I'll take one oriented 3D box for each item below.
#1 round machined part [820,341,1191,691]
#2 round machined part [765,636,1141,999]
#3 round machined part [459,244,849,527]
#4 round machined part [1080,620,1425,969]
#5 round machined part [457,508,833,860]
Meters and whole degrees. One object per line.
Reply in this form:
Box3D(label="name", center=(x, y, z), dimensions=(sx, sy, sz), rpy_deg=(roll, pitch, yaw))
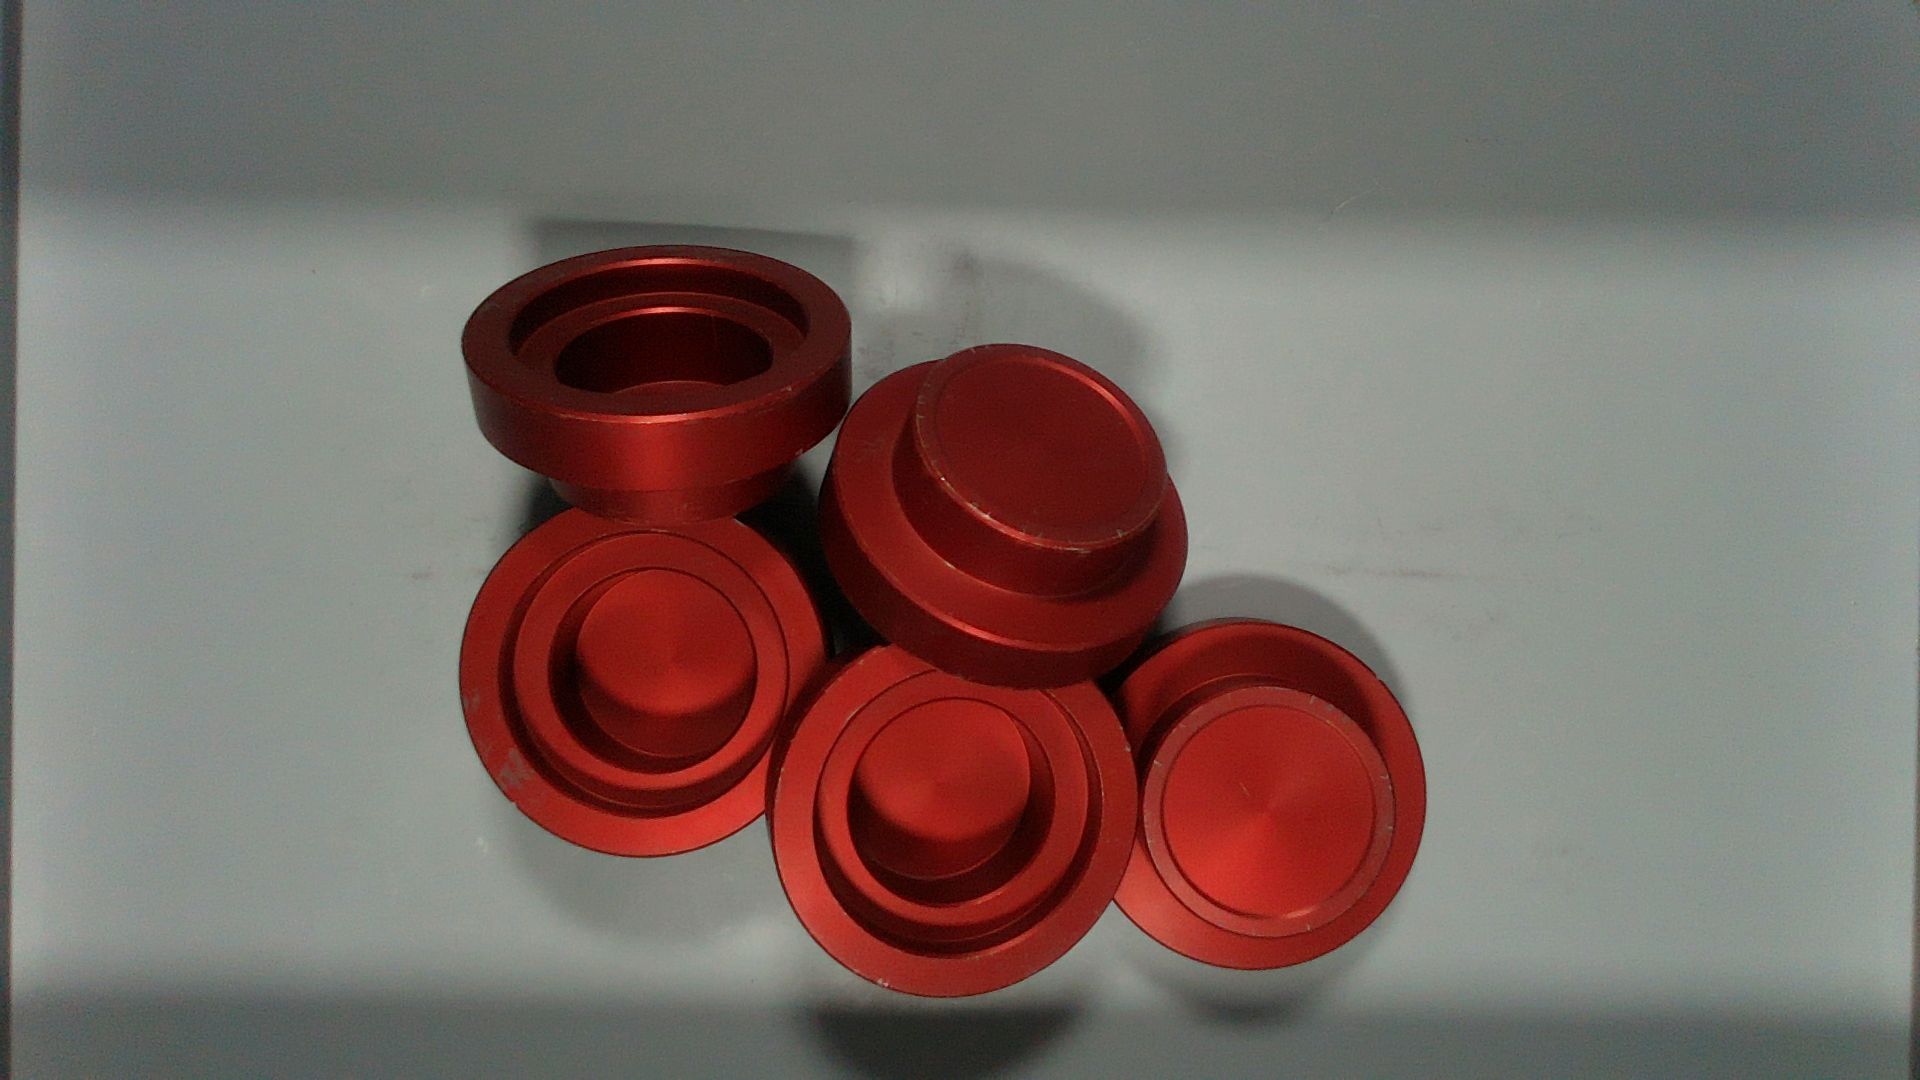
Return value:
Box3D(label="round machined part", center=(0.015, -0.013, 0.358), dimensions=(0.098, 0.042, 0.098), rpy_deg=(11, 50, -13))
Box3D(label="round machined part", center=(-0.004, 0.069, 0.374), dimensions=(0.098, 0.042, 0.098), rpy_deg=(-1, 96, -13))
Box3D(label="round machined part", center=(-0.079, -0.040, 0.367), dimensions=(0.098, 0.098, 0.042), rpy_deg=(3, 126, 0))
Box3D(label="round machined part", center=(0.082, 0.072, 0.386), dimensions=(0.098, 0.042, 0.098), rpy_deg=(0, 90, 0))
Box3D(label="round machined part", center=(-0.084, 0.036, 0.385), dimensions=(0.098, 0.042, 0.098), rpy_deg=(0, 90, 0))
